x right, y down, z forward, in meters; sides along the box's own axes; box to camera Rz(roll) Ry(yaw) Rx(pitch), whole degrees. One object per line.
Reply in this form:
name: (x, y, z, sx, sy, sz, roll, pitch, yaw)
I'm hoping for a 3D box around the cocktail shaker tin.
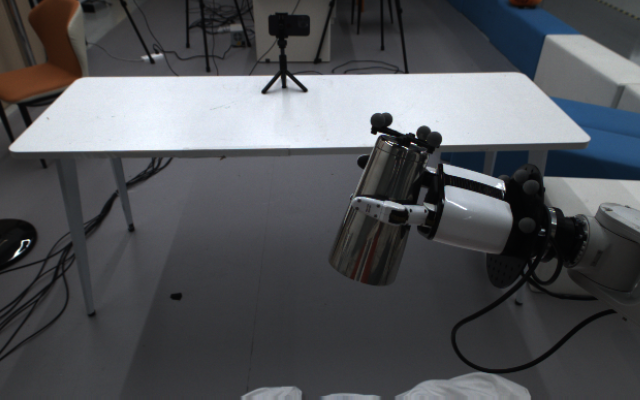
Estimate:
cocktail shaker tin: (0.078, 0.010, 0.607, 0.093, 0.170, 0.093, 15, 17, -5)
